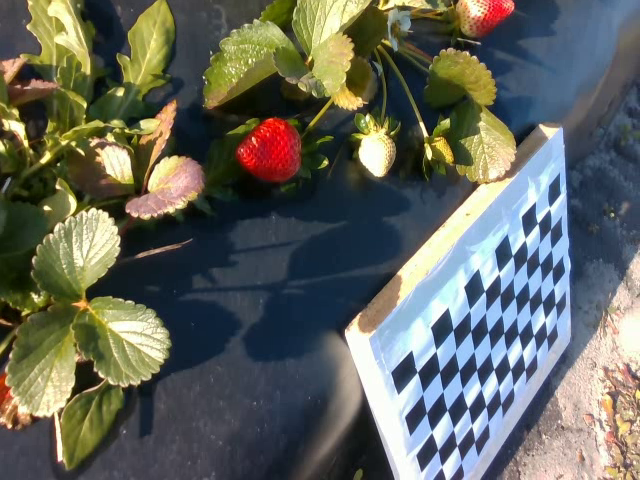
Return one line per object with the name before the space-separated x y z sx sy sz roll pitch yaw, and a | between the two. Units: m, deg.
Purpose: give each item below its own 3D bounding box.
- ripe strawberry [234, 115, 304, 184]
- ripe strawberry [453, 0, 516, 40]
ripe strawberry | -0.030 -0.048 0.318 0.036 0.044 0.053 15 19 33
ripe strawberry | 0.114 -0.159 0.422 0.045 0.042 0.037 -11 -40 25
